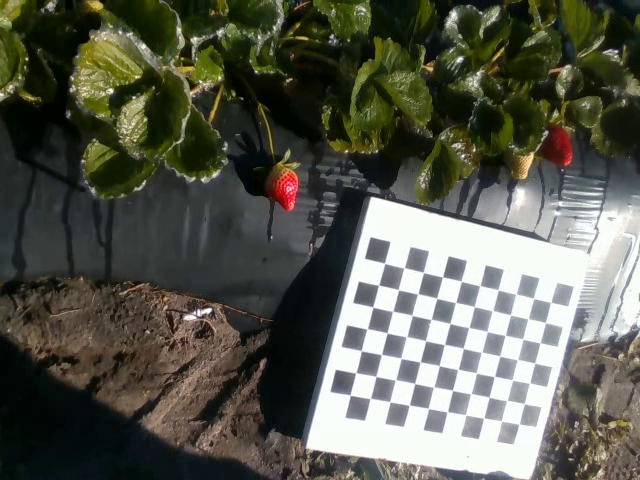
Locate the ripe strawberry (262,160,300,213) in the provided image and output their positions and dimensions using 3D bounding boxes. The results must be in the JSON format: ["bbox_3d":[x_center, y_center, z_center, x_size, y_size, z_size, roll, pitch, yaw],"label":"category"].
[{"bbox_3d":[-0.035,-0.050,0.634,0.039,0.053,0.040,-9,-8,-17],"label":"ripe strawberry"}]
